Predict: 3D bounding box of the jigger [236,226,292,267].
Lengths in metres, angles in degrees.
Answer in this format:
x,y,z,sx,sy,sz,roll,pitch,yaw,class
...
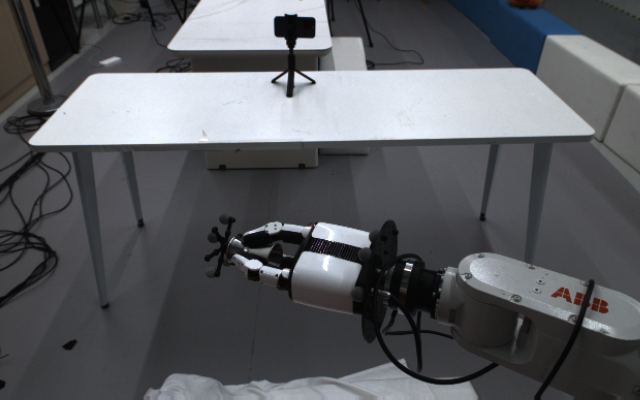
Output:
x,y,z,sx,sy,sz,roll,pitch,yaw,class
-0.087,0.074,0.686,0.071,0.043,0.043,10,35,22,jigger
